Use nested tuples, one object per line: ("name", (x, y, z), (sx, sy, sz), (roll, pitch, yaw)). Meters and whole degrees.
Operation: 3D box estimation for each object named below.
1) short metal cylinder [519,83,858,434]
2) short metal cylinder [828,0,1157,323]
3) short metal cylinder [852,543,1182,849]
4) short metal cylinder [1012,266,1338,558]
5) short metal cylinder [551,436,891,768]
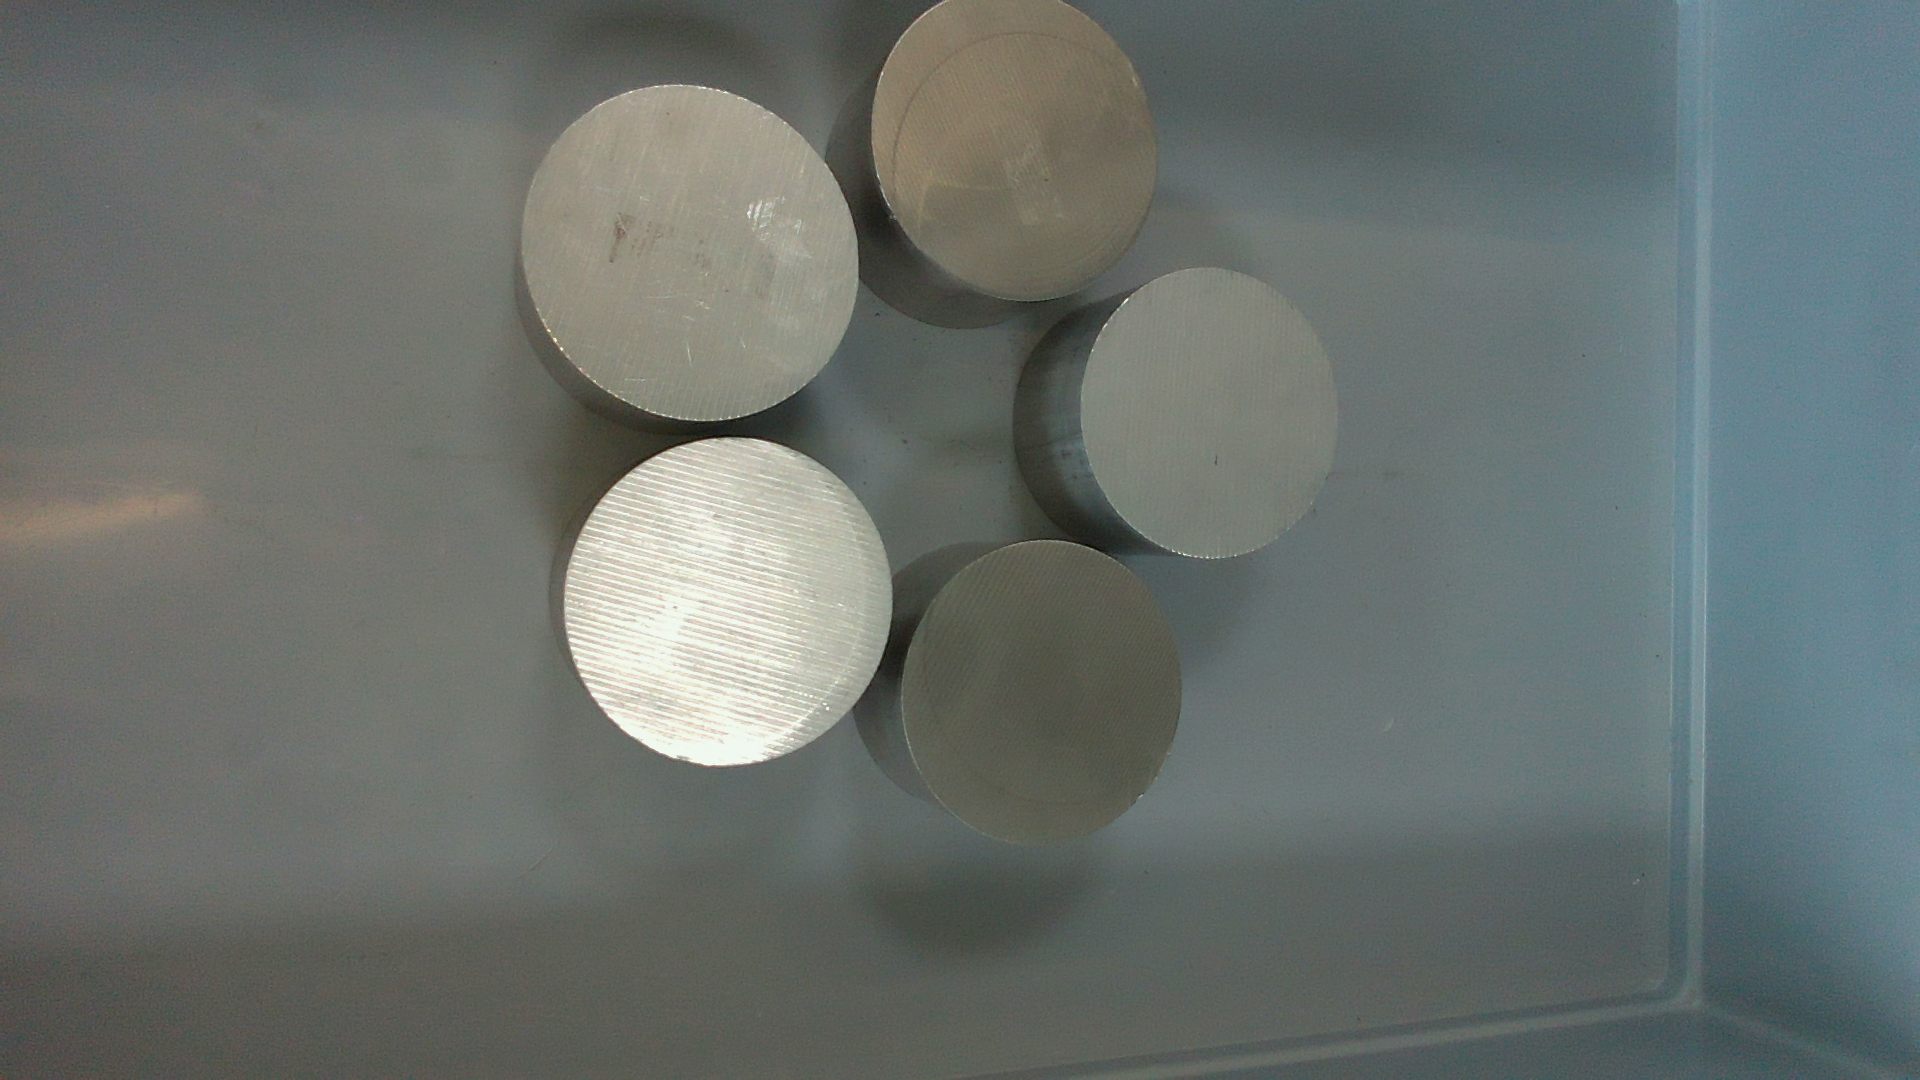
("short metal cylinder", (-0.071, -0.069, 0.352), (0.080, 0.050, 0.080), (0, 90, -20))
("short metal cylinder", (0.007, -0.103, 0.381), (0.080, 0.050, 0.080), (0, 90, -20))
("short metal cylinder", (0.014, 0.041, 0.384), (0.080, 0.050, 0.080), (0, 90, -20))
("short metal cylinder", (0.062, -0.035, 0.401), (0.080, 0.050, 0.080), (0, 90, -20))
("short metal cylinder", (-0.063, 0.015, 0.355), (0.080, 0.050, 0.080), (0, 90, -20))
